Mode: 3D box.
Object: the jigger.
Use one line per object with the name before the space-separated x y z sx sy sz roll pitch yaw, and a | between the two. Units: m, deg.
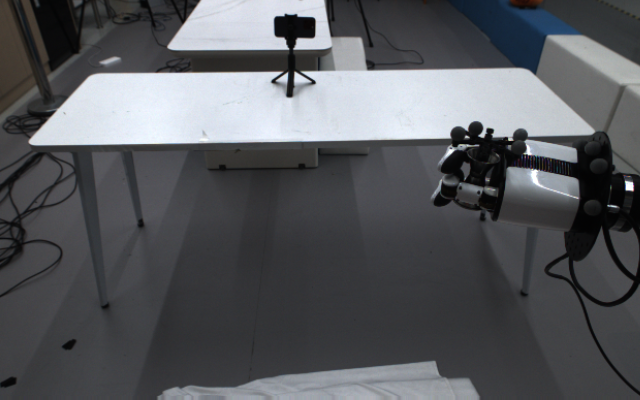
jigger | 0.202 -0.028 0.620 0.043 0.071 0.043 4 31 -2
